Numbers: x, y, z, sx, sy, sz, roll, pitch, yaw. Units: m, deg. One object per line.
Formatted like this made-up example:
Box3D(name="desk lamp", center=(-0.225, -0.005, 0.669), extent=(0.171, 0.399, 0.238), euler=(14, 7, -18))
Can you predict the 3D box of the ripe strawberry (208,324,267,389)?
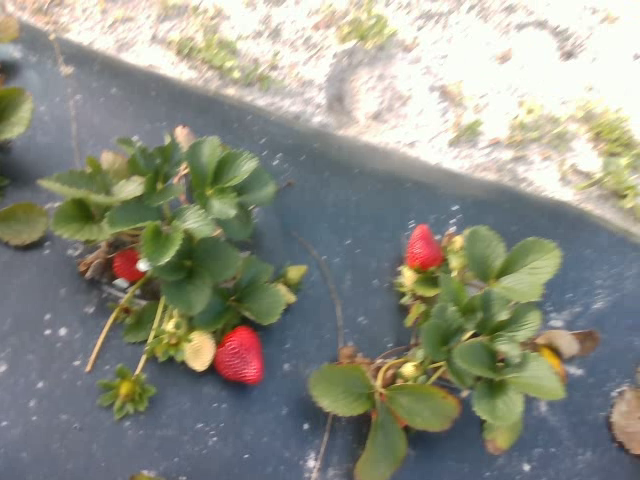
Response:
Box3D(name="ripe strawberry", center=(-0.073, 0.116, 0.536), extent=(0.048, 0.051, 0.055), euler=(31, 16, -45))
